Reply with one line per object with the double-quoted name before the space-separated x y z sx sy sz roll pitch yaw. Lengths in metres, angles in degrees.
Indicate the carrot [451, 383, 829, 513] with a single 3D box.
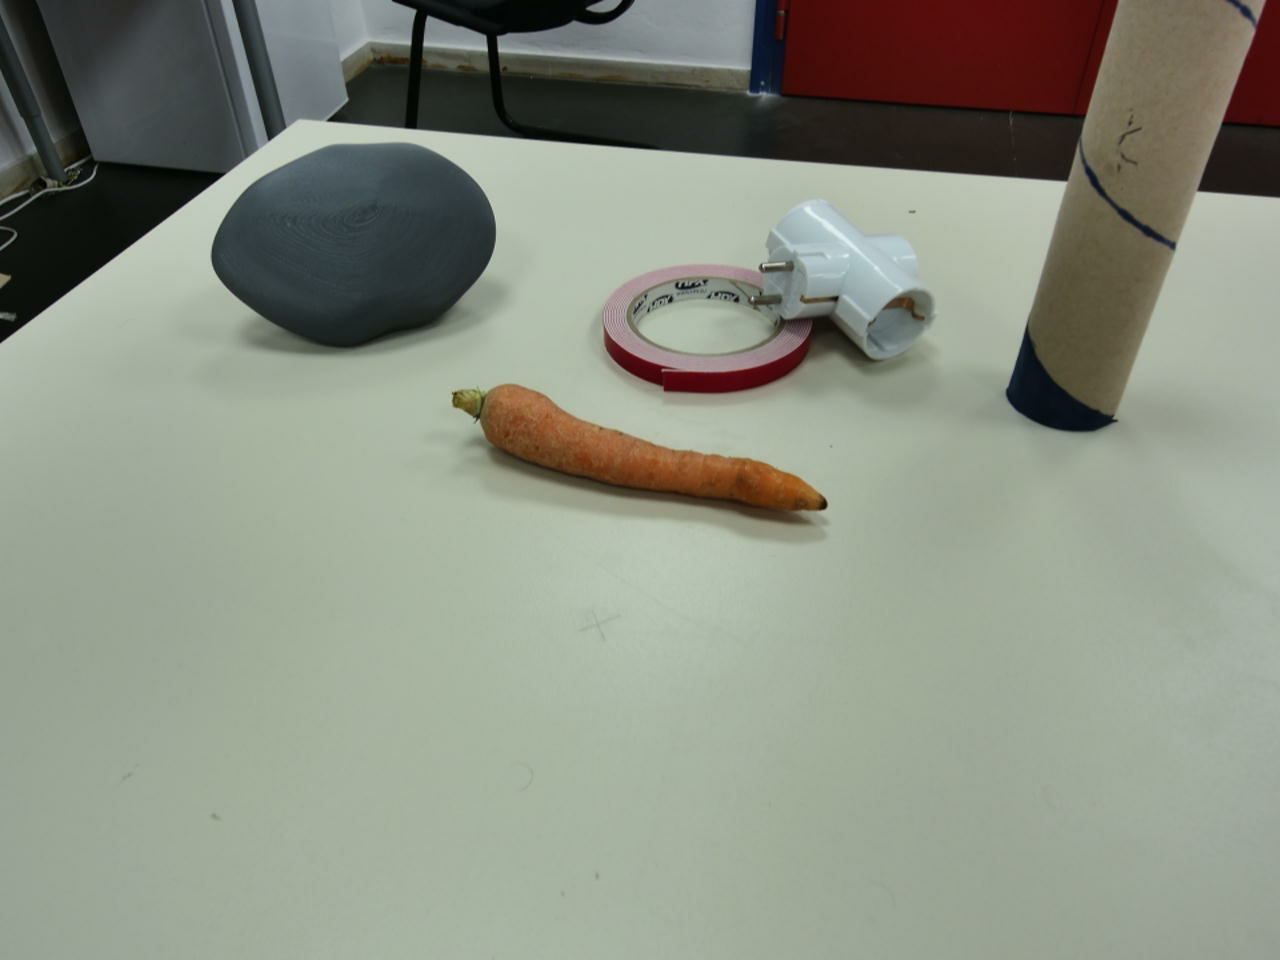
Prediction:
"carrot" -0.003 -0.013 0.430 0.173 0.032 0.030 14 40 18
